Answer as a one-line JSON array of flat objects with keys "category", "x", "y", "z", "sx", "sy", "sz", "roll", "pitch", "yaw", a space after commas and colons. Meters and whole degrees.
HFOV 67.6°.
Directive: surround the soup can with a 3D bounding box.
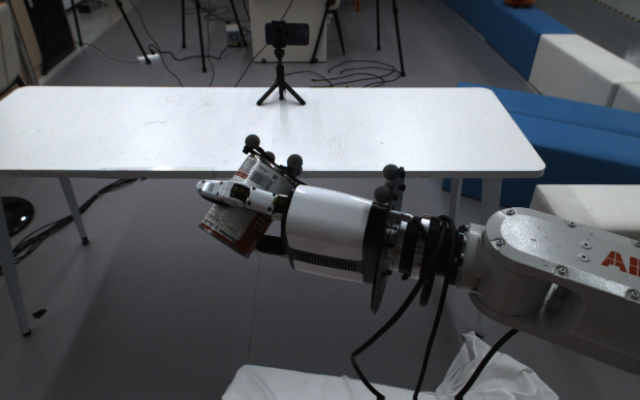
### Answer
[{"category": "soup can", "x": -0.081, "y": 0.008, "z": 0.556, "sx": 0.067, "sy": 0.067, "sz": 0.101, "roll": 27, "pitch": 78, "yaw": 31}]
